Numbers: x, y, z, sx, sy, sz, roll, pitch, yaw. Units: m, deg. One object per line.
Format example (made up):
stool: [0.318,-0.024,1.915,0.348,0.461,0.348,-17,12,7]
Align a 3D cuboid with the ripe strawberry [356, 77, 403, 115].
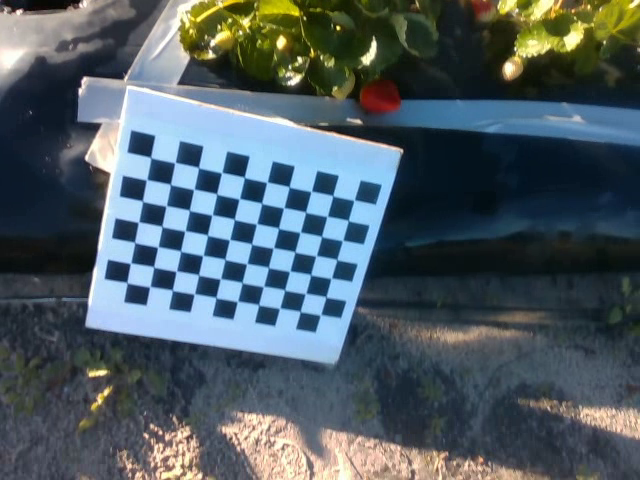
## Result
ripe strawberry: [0.054,-0.173,0.738,0.048,0.045,0.063,31,9,-39]
